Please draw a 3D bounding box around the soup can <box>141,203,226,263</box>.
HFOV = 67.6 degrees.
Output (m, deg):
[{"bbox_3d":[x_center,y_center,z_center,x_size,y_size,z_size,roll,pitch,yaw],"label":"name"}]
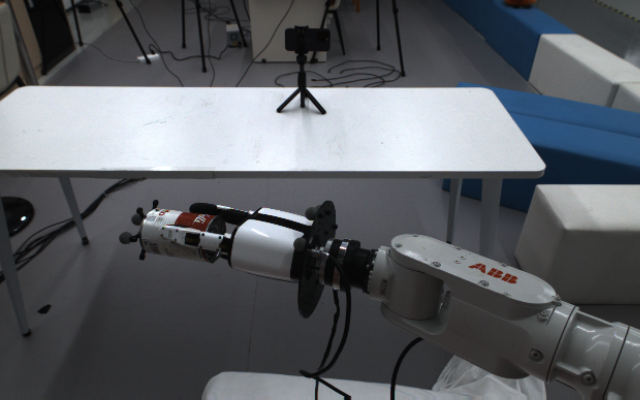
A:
[{"bbox_3d":[-0.192,0.051,0.689,0.101,0.067,0.067,6,35,12],"label":"soup can"}]
